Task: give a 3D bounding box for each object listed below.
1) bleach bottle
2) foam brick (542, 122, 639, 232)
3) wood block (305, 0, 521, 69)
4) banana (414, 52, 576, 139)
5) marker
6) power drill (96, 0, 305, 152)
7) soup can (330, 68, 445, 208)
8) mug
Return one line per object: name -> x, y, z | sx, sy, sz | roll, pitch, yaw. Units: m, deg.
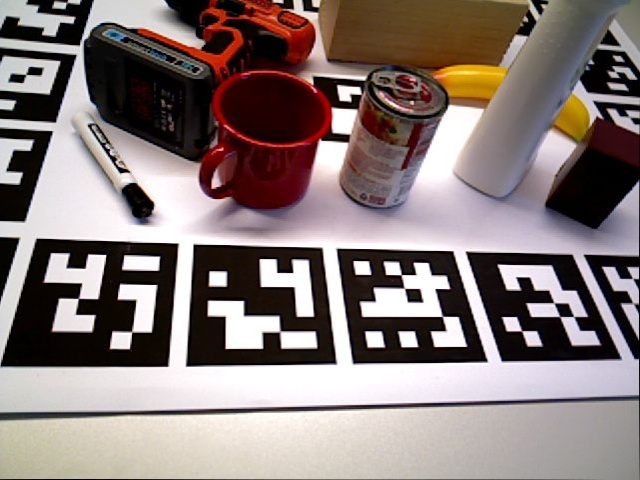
bleach bottle -> 0.180, -0.150, 0.433 | 0.068, 0.257, 0.100 | 23, 49, 7
foam brick -> 0.246, -0.057, 0.490 | 0.053, 0.080, 0.050 | 26, 49, 11
wood block -> 0.095, -0.249, 0.600 | 0.204, 0.093, 0.089 | 0, 53, -13
banana -> 0.181, -0.165, 0.581 | 0.196, 0.039, 0.073 | 14, 64, -4
marker -> -0.175, -0.051, 0.432 | 0.019, 0.020, 0.120 | -28, 63, -27
power drill -> -0.125, -0.177, 0.520 | 0.184, 0.059, 0.183 | 25, 50, 3
soup can -> 0.051, -0.085, 0.443 | 0.067, 0.104, 0.067 | 7, 47, -9
mug -> -0.056, -0.073, 0.430 | 0.093, 0.083, 0.114 | 36, 56, 13
